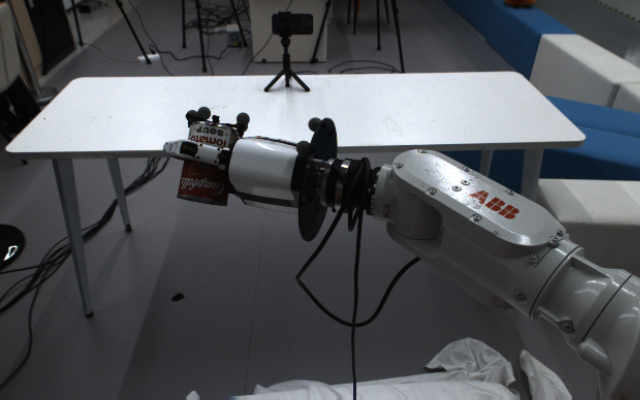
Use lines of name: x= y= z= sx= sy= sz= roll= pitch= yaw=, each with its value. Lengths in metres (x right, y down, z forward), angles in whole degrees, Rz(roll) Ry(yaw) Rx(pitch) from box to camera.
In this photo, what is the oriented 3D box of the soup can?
soup can: x=-0.150 y=-0.047 z=0.650 sx=0.067 sy=0.101 sz=0.067 roll=8 pitch=-6 yaw=1
